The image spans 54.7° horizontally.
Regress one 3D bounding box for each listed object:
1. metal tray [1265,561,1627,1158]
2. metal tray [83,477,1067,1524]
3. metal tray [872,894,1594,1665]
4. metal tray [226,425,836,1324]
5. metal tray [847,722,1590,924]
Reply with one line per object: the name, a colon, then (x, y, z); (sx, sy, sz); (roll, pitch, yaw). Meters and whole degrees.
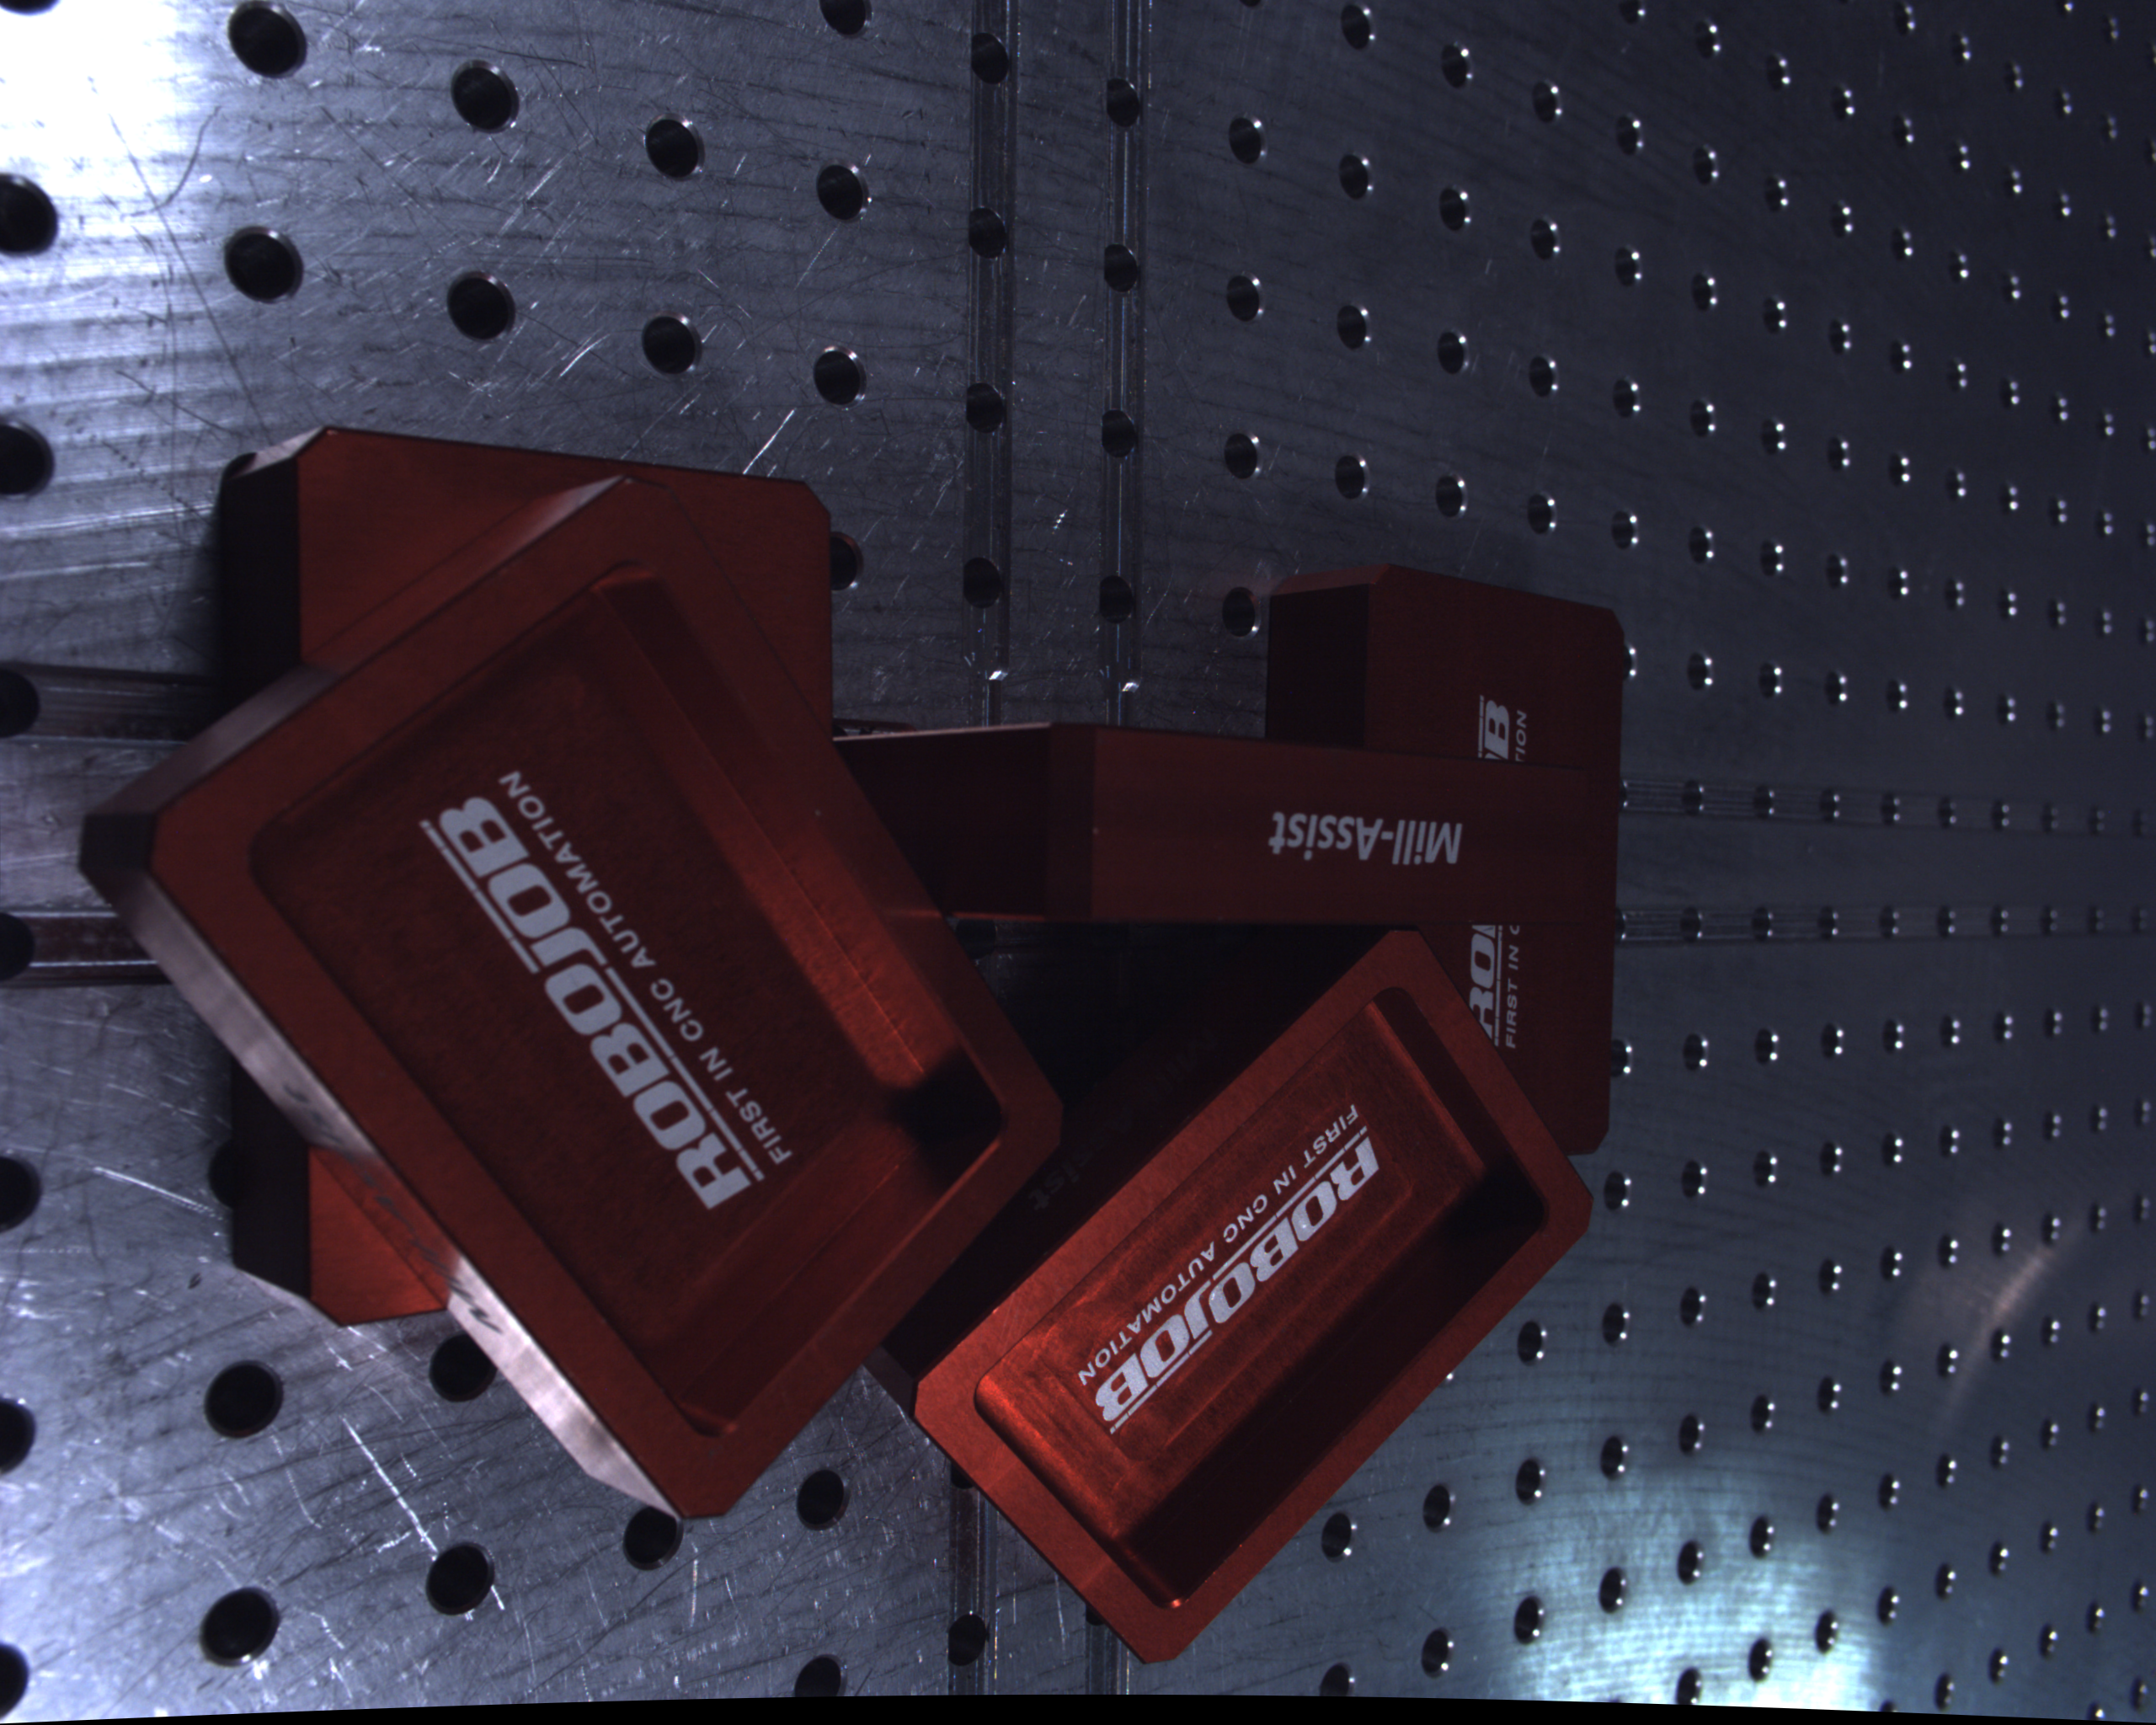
metal tray: (0.085, 0.002, 0.479); (0.091, 0.030, 0.129); (4, 88, -40)
metal tray: (-0.066, 0.021, 0.310); (0.090, 0.030, 0.130); (-46, 118, -31)
metal tray: (0.032, 0.081, 0.411); (0.130, 0.030, 0.090); (-42, 118, -13)
metal tray: (-0.085, 0.001, 0.336); (0.091, 0.030, 0.129); (-1, 92, -40)
metal tray: (0.020, -0.005, 0.384); (0.131, 0.090, 0.030); (2, 89, -40)
